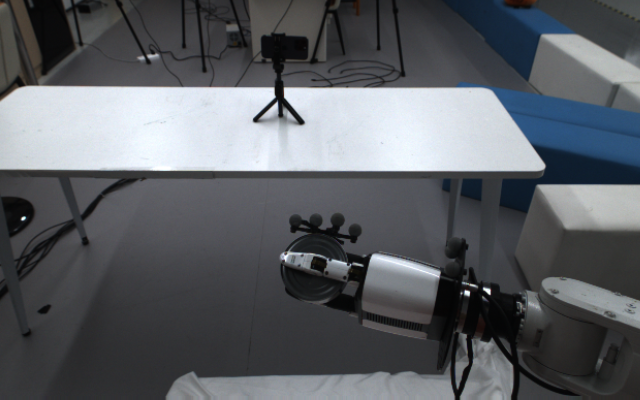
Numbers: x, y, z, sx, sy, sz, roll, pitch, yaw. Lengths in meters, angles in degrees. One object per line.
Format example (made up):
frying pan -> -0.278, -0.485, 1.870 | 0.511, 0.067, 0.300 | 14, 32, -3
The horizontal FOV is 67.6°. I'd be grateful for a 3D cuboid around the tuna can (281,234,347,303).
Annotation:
tuna can -> -0.004, 0.084, 0.610 | 0.085, 0.034, 0.085 | -3, 67, 7
